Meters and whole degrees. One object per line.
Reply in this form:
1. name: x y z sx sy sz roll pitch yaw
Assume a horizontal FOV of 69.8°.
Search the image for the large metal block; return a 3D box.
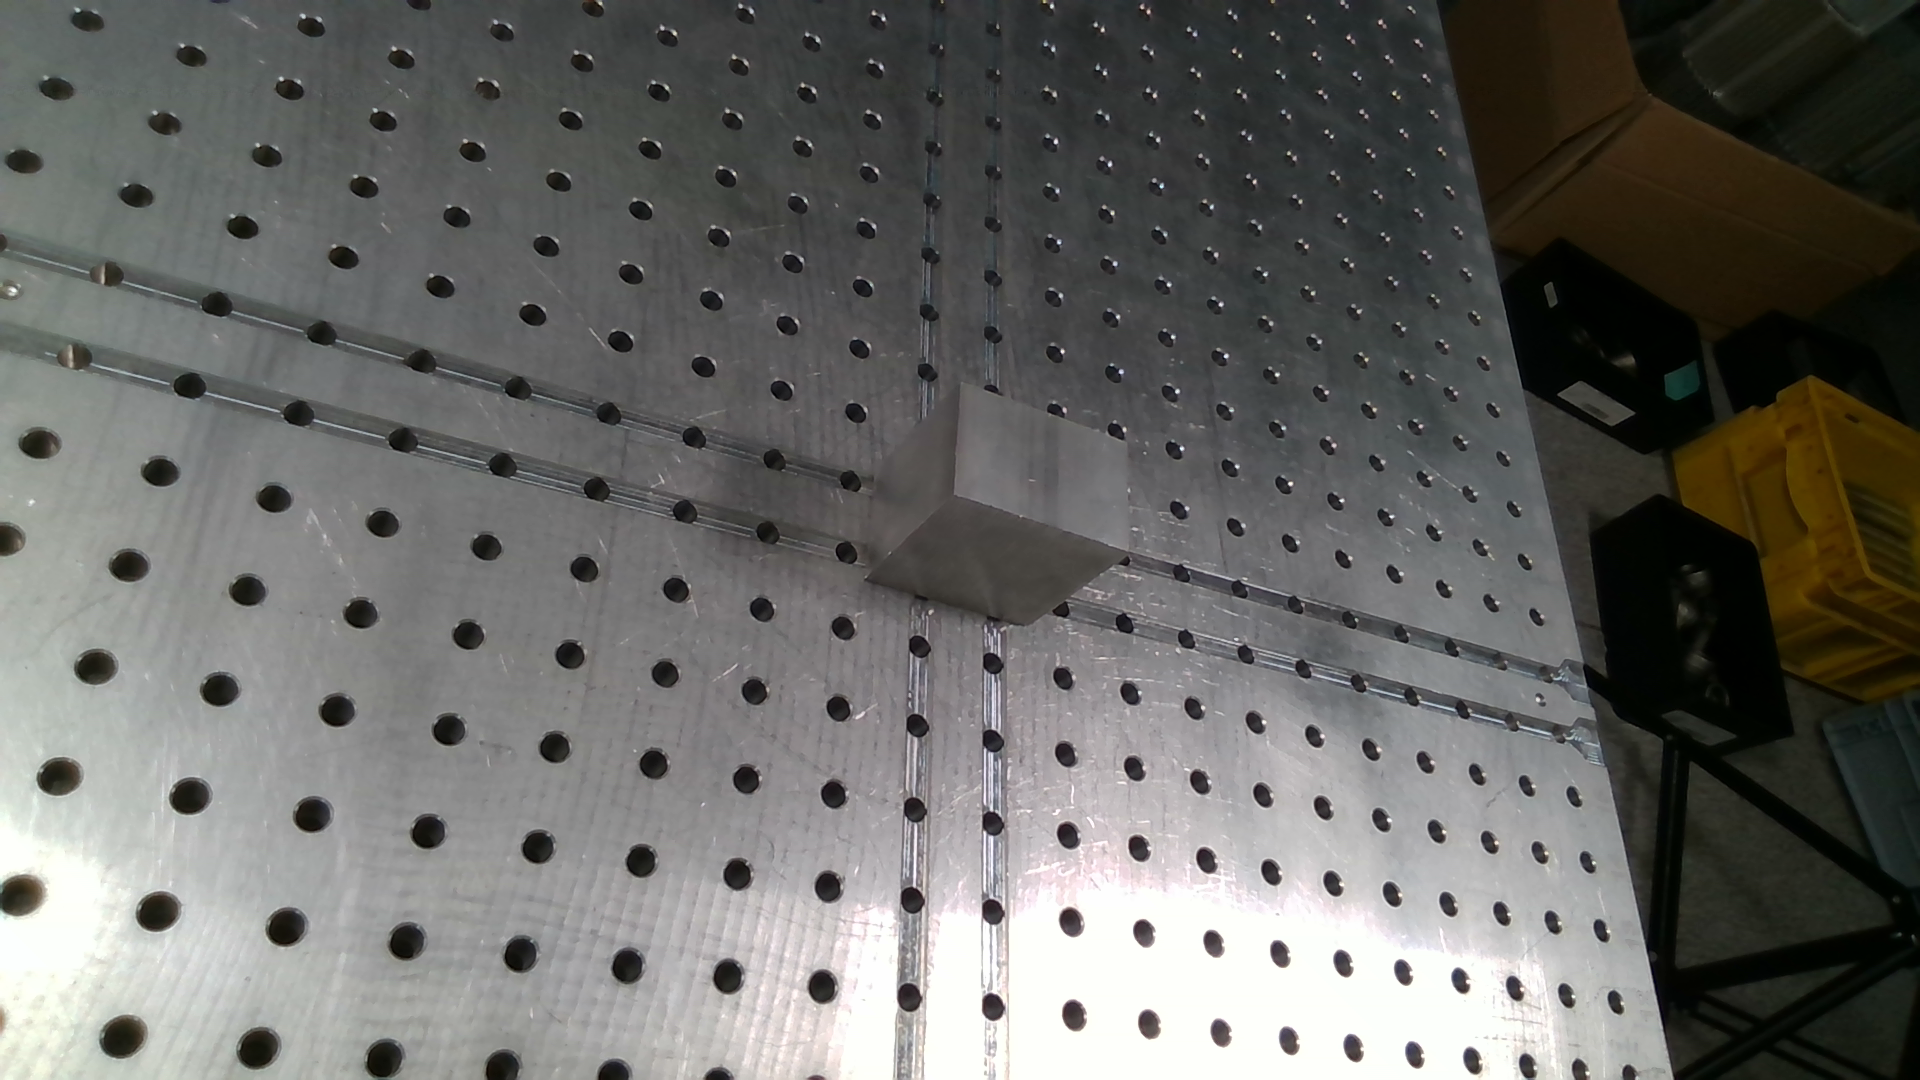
1. large metal block: 0.014 -0.012 0.568 0.080 0.080 0.050 17 57 -23
